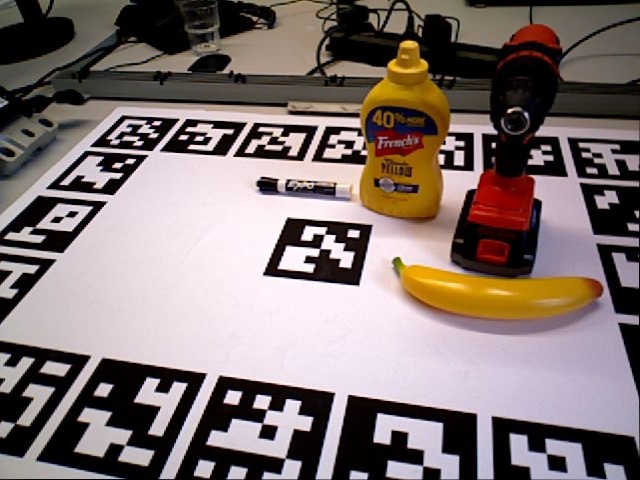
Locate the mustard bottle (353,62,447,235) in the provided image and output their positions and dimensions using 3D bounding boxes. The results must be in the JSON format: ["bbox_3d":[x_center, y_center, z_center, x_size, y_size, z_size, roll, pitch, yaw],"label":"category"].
[{"bbox_3d":[0.086,-0.096,0.590,0.096,0.195,0.057,15,45,19],"label":"mustard bottle"}]

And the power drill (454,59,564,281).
[{"bbox_3d":[0.174,-0.055,0.510,0.057,0.191,0.180,18,44,20],"label":"power drill"}]

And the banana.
[{"bbox_3d":[0.149,0.073,0.516,0.198,0.039,0.072,11,45,19],"label":"banana"}]

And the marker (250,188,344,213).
[{"bbox_3d":[-0.031,-0.050,0.682,0.121,0.020,0.019,8,44,14],"label":"marker"}]
